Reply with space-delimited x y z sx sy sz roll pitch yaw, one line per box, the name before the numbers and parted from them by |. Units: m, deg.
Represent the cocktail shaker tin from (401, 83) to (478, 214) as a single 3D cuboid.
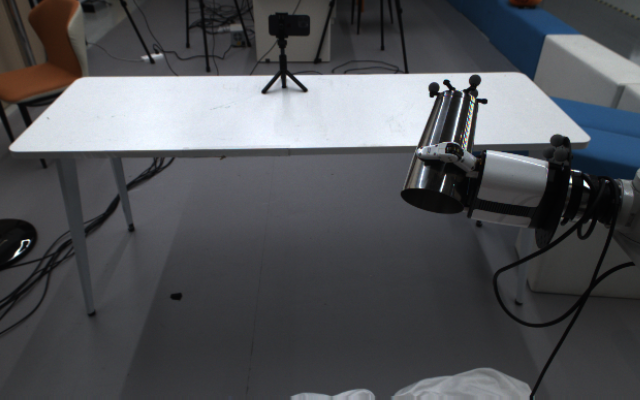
cocktail shaker tin | 0.186 -0.075 0.724 0.093 0.093 0.170 14 72 16
